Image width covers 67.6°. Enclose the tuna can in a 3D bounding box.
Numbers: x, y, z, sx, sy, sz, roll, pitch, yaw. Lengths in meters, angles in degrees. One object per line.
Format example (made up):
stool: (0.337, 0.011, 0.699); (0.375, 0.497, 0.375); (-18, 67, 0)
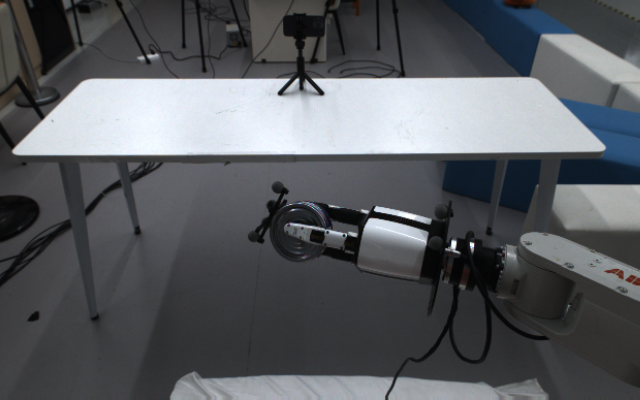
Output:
tuna can: (-0.024, 0.047, 0.680); (0.085, 0.085, 0.034); (10, 4, 11)
